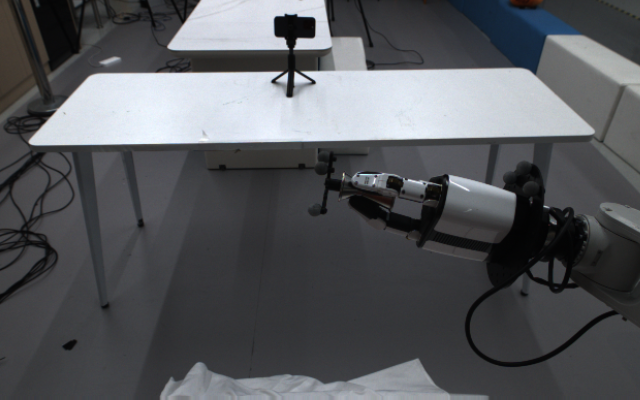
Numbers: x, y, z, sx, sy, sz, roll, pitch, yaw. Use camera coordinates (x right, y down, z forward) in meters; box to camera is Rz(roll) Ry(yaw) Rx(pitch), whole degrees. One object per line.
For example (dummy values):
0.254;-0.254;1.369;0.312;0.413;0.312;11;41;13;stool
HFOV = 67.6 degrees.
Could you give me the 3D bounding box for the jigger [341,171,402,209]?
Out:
0.067;-0.015;0.614;0.071;0.043;0.043;10;35;2;jigger
